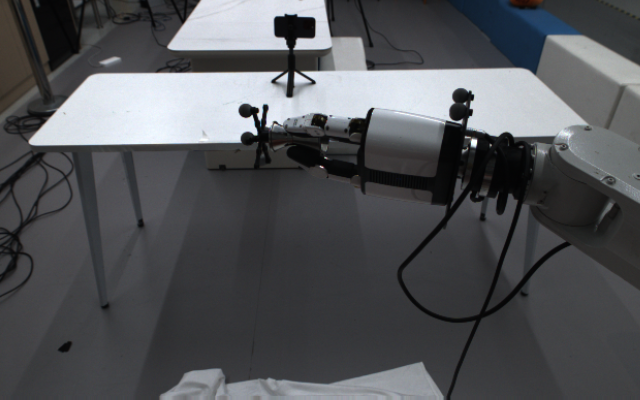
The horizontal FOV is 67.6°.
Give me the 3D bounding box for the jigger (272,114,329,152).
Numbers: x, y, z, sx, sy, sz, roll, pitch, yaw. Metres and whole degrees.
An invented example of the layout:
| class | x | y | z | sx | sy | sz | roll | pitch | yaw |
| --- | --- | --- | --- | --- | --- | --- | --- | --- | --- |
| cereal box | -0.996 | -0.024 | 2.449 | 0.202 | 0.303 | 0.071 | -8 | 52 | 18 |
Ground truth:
| class | x | y | z | sx | sy | sz | roll | pitch | yaw |
| --- | --- | --- | --- | --- | --- | --- | --- | --- | --- |
| jigger | -0.019 | -0.083 | 0.614 | 0.071 | 0.043 | 0.043 | 3 | 34 | 14 |
